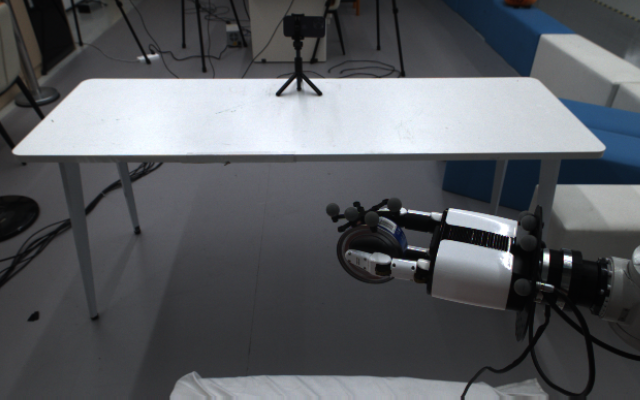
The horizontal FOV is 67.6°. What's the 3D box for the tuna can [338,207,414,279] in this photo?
[{"bbox_3d":[0.069,0.061,0.614,0.085,0.085,0.034,13,29,15],"label":"tuna can"}]
